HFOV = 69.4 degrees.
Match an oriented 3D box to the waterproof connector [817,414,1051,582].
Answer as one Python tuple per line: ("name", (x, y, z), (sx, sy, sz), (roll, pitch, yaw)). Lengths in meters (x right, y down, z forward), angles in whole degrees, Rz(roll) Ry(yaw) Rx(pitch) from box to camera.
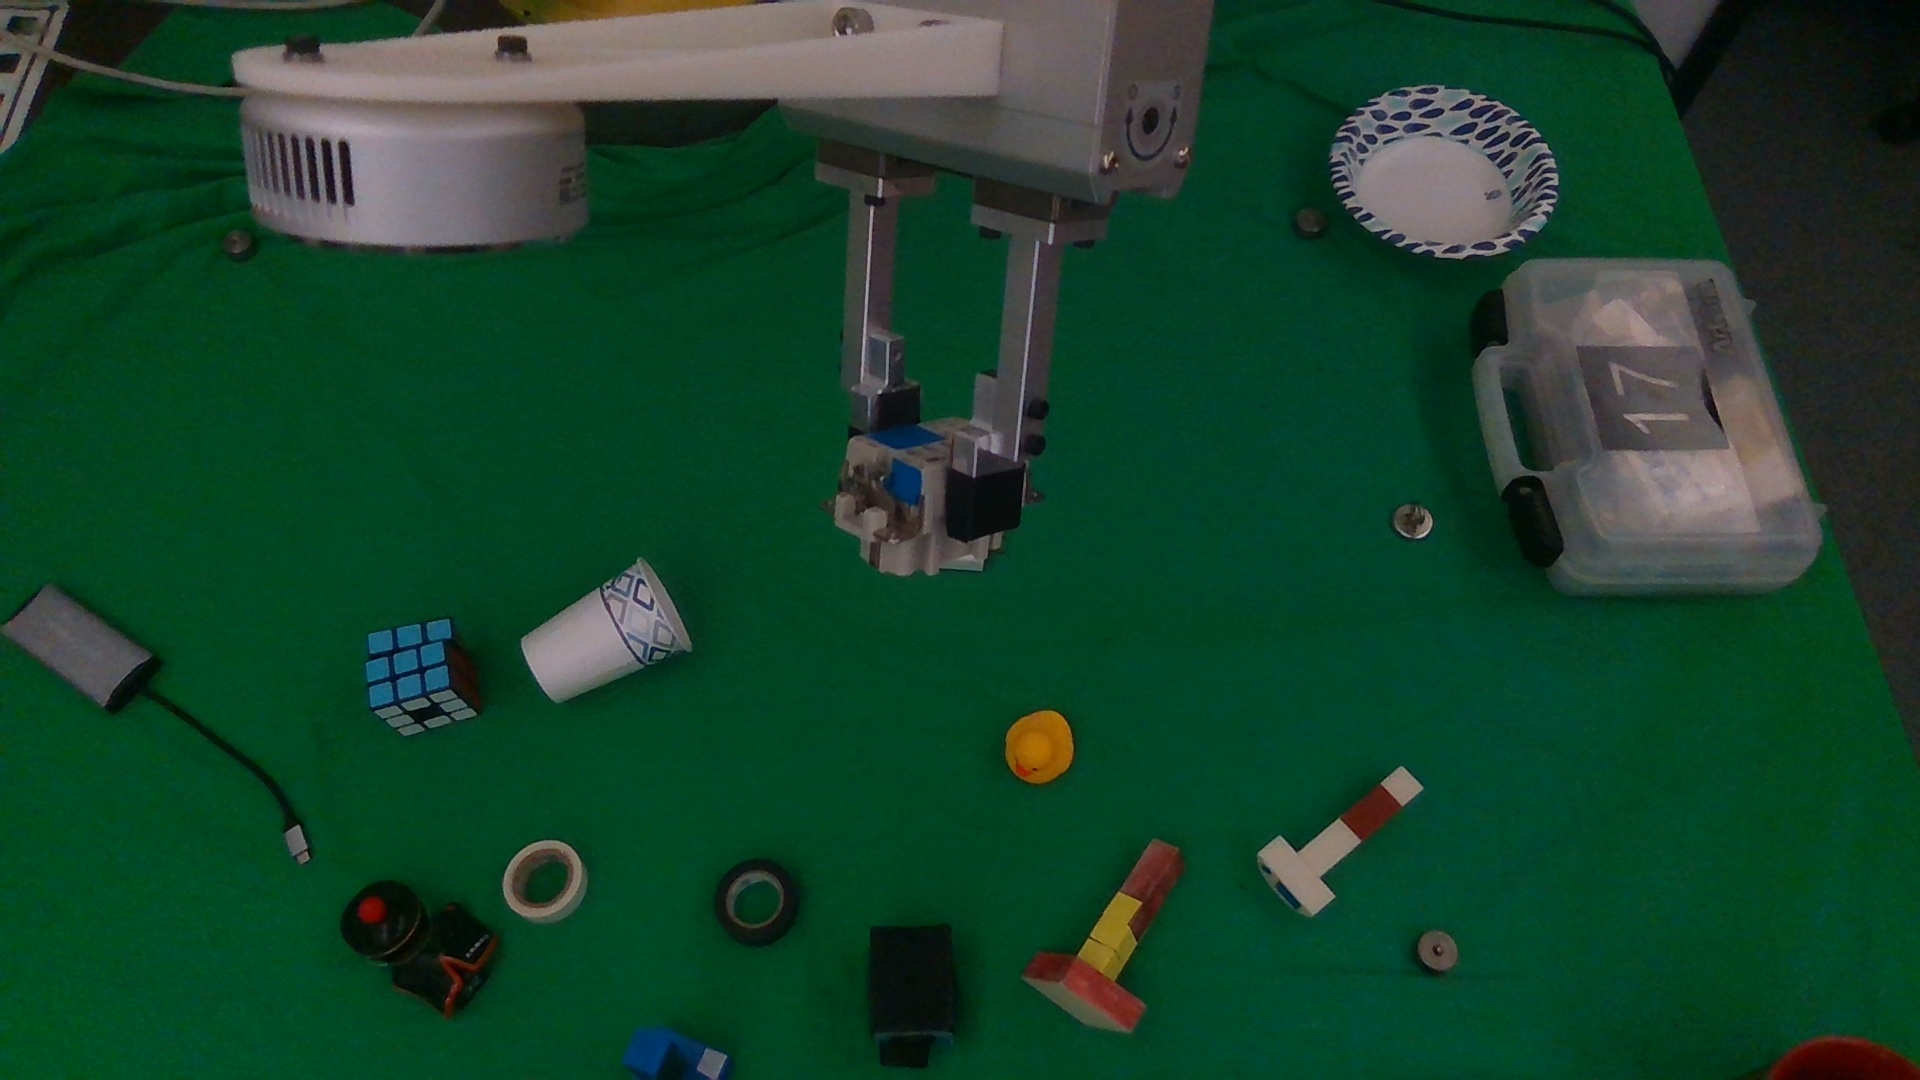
("waterproof connector", (-0.006, -0.012, 0.389), (0.035, 0.037, 0.065), (26, 29, 36))

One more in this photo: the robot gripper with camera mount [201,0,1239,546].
("robot gripper with camera mount", (-0.054, -0.065, 0.303), (0.192, 0.158, 0.119), (-14, 29, -42))
